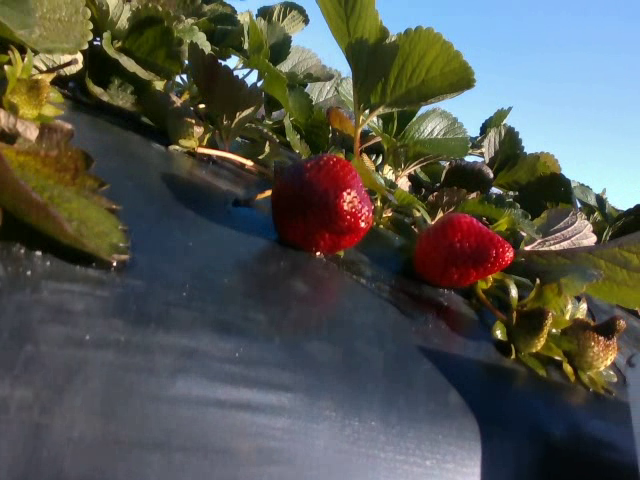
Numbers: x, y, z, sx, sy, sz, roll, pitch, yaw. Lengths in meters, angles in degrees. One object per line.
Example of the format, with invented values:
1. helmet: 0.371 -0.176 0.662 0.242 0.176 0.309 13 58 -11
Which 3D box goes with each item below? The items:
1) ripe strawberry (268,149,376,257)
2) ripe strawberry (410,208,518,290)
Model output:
1. ripe strawberry: 0.003 -0.015 0.231 0.050 0.045 0.050 35 -13 -11
2. ripe strawberry: 0.066 0.006 0.261 0.042 0.039 0.049 -28 19 -34
